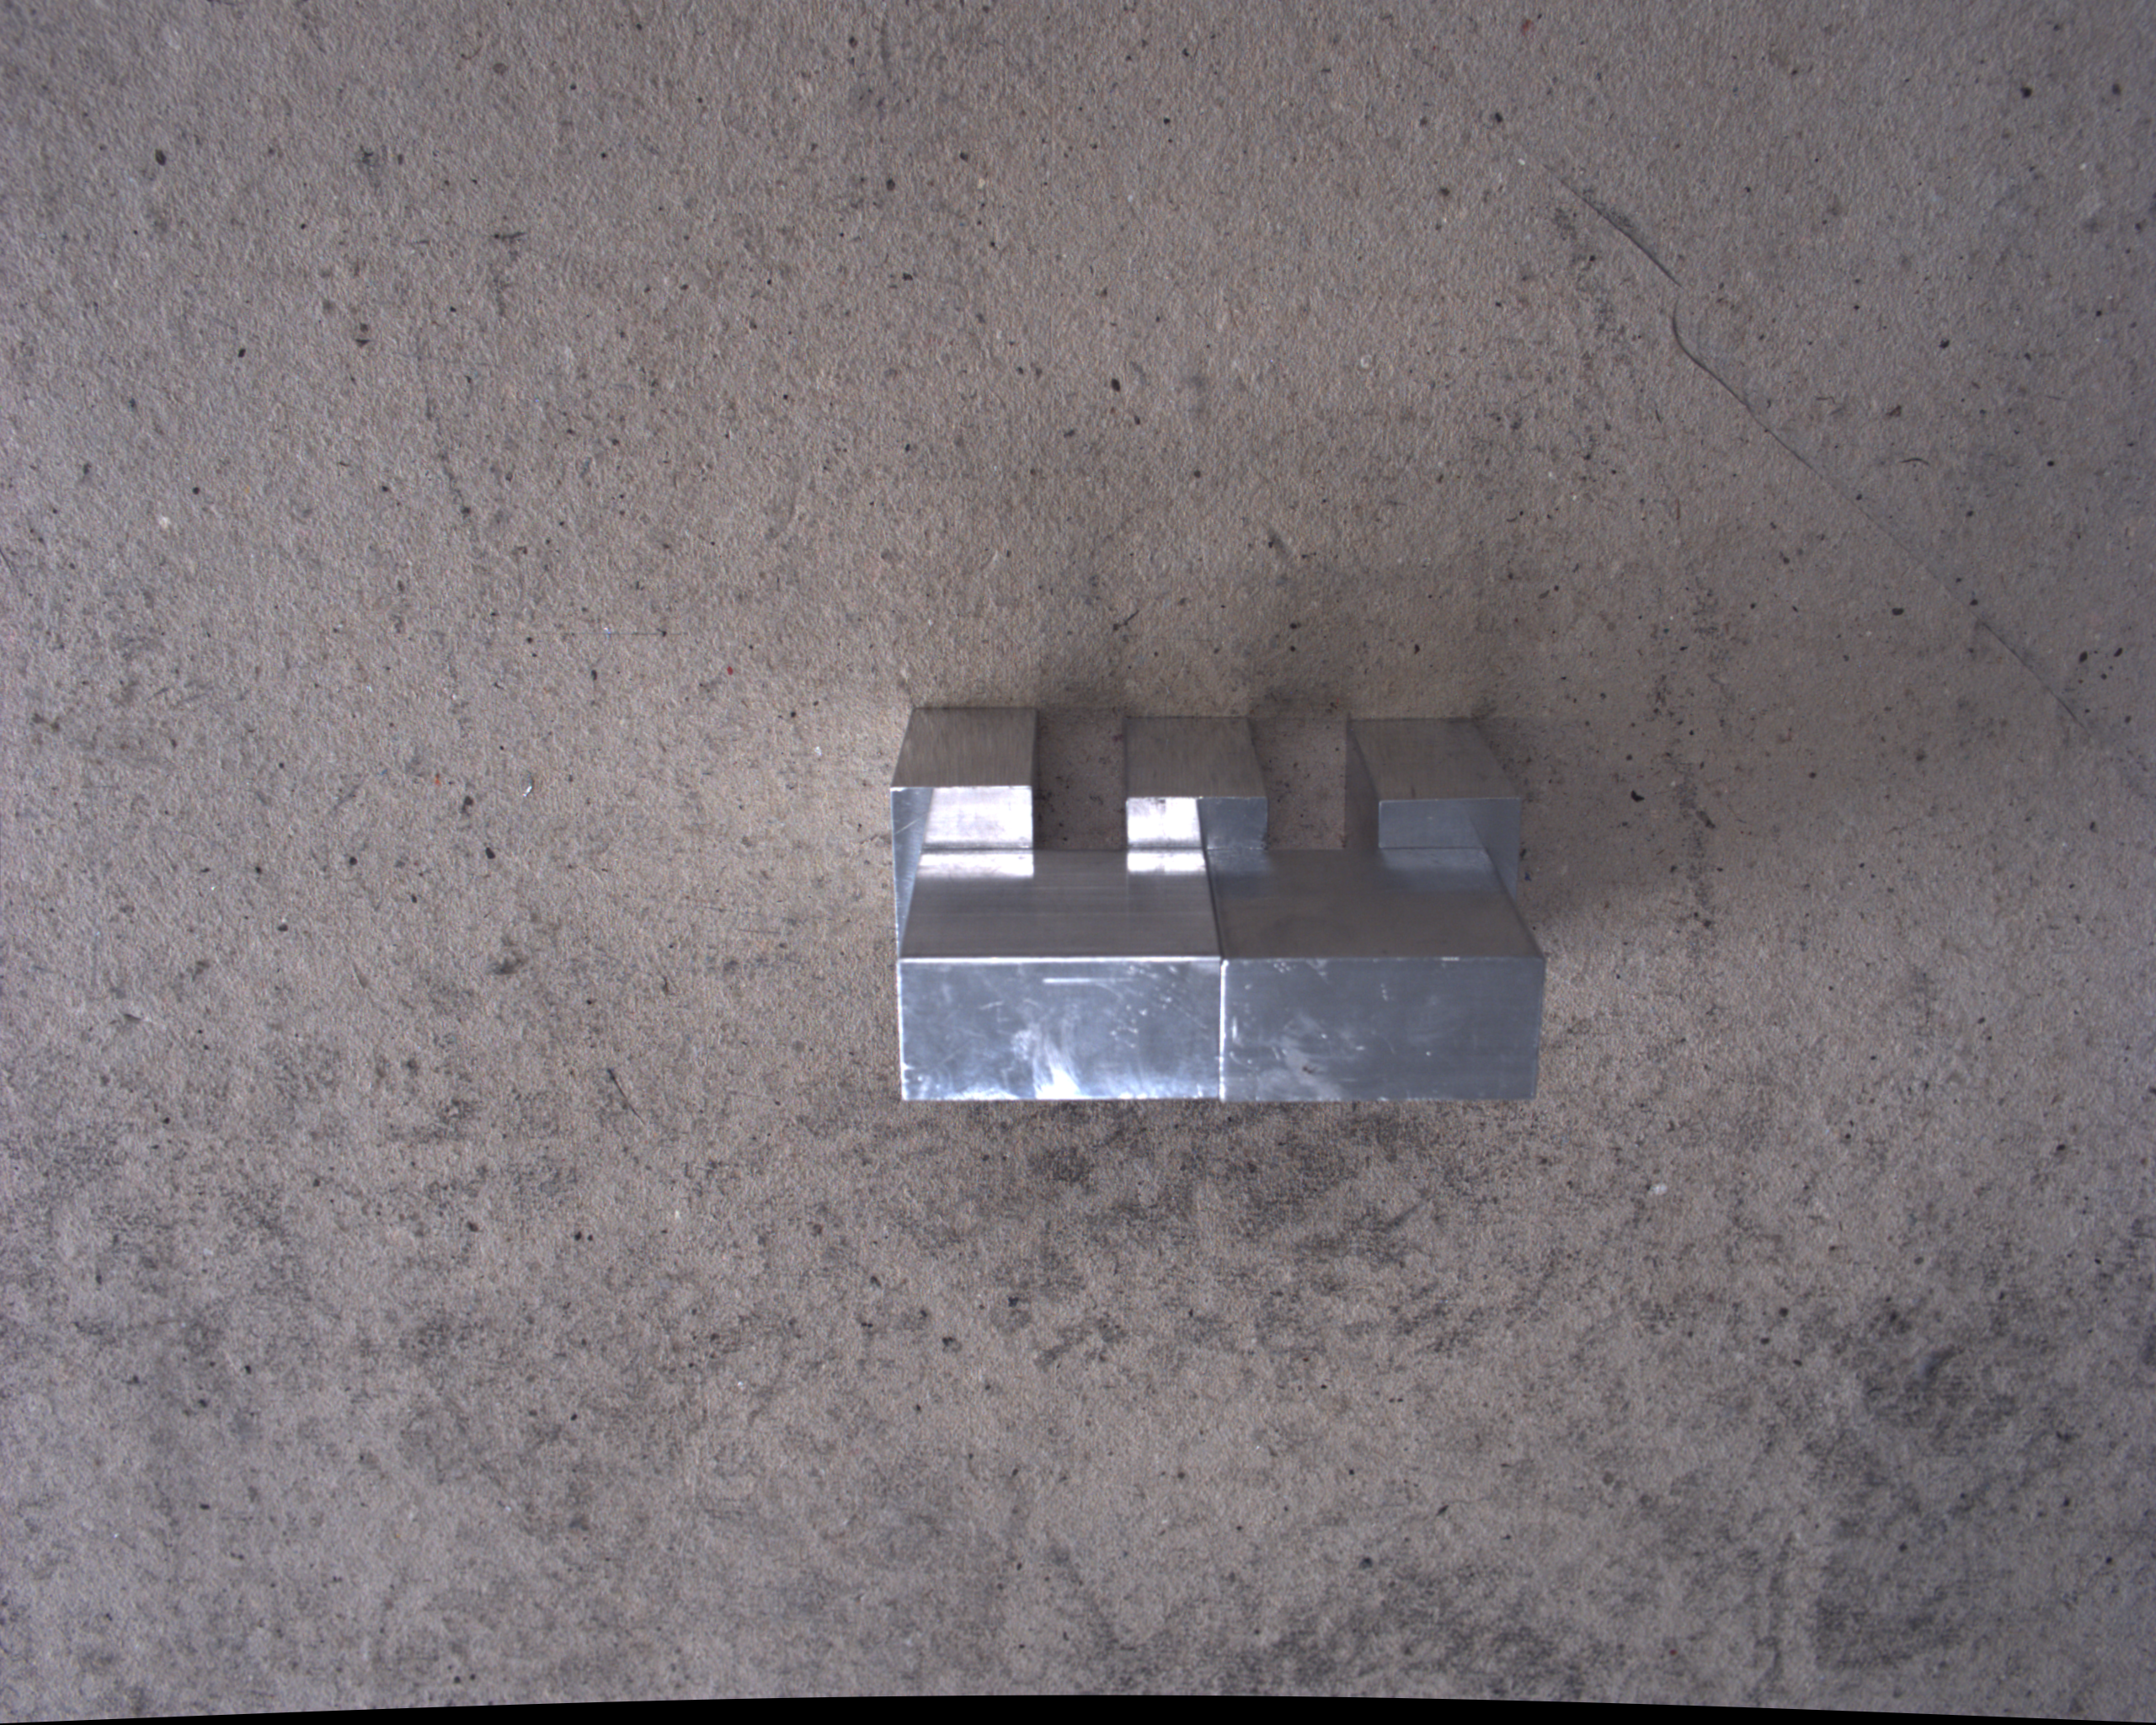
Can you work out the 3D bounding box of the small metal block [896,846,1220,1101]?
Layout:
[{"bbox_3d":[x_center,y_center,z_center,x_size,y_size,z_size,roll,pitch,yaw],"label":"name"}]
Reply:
[{"bbox_3d":[-0.003,0.018,0.351,0.050,0.050,0.025,0,110,0],"label":"small metal block"}]

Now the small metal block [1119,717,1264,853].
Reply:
[{"bbox_3d":[0.021,0.003,0.400,0.025,0.050,0.050,-1,110,1],"label":"small metal block"}]

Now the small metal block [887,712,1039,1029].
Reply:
[{"bbox_3d":[-0.020,0.002,0.398,0.025,0.050,0.050,0,110,1],"label":"small metal block"}]

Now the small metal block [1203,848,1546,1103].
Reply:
[{"bbox_3d":[0.047,0.018,0.351,0.050,0.050,0.025,0,110,0],"label":"small metal block"}]

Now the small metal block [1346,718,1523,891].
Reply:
[{"bbox_3d":[0.067,0.003,0.400,0.025,0.050,0.050,-1,110,1],"label":"small metal block"}]
